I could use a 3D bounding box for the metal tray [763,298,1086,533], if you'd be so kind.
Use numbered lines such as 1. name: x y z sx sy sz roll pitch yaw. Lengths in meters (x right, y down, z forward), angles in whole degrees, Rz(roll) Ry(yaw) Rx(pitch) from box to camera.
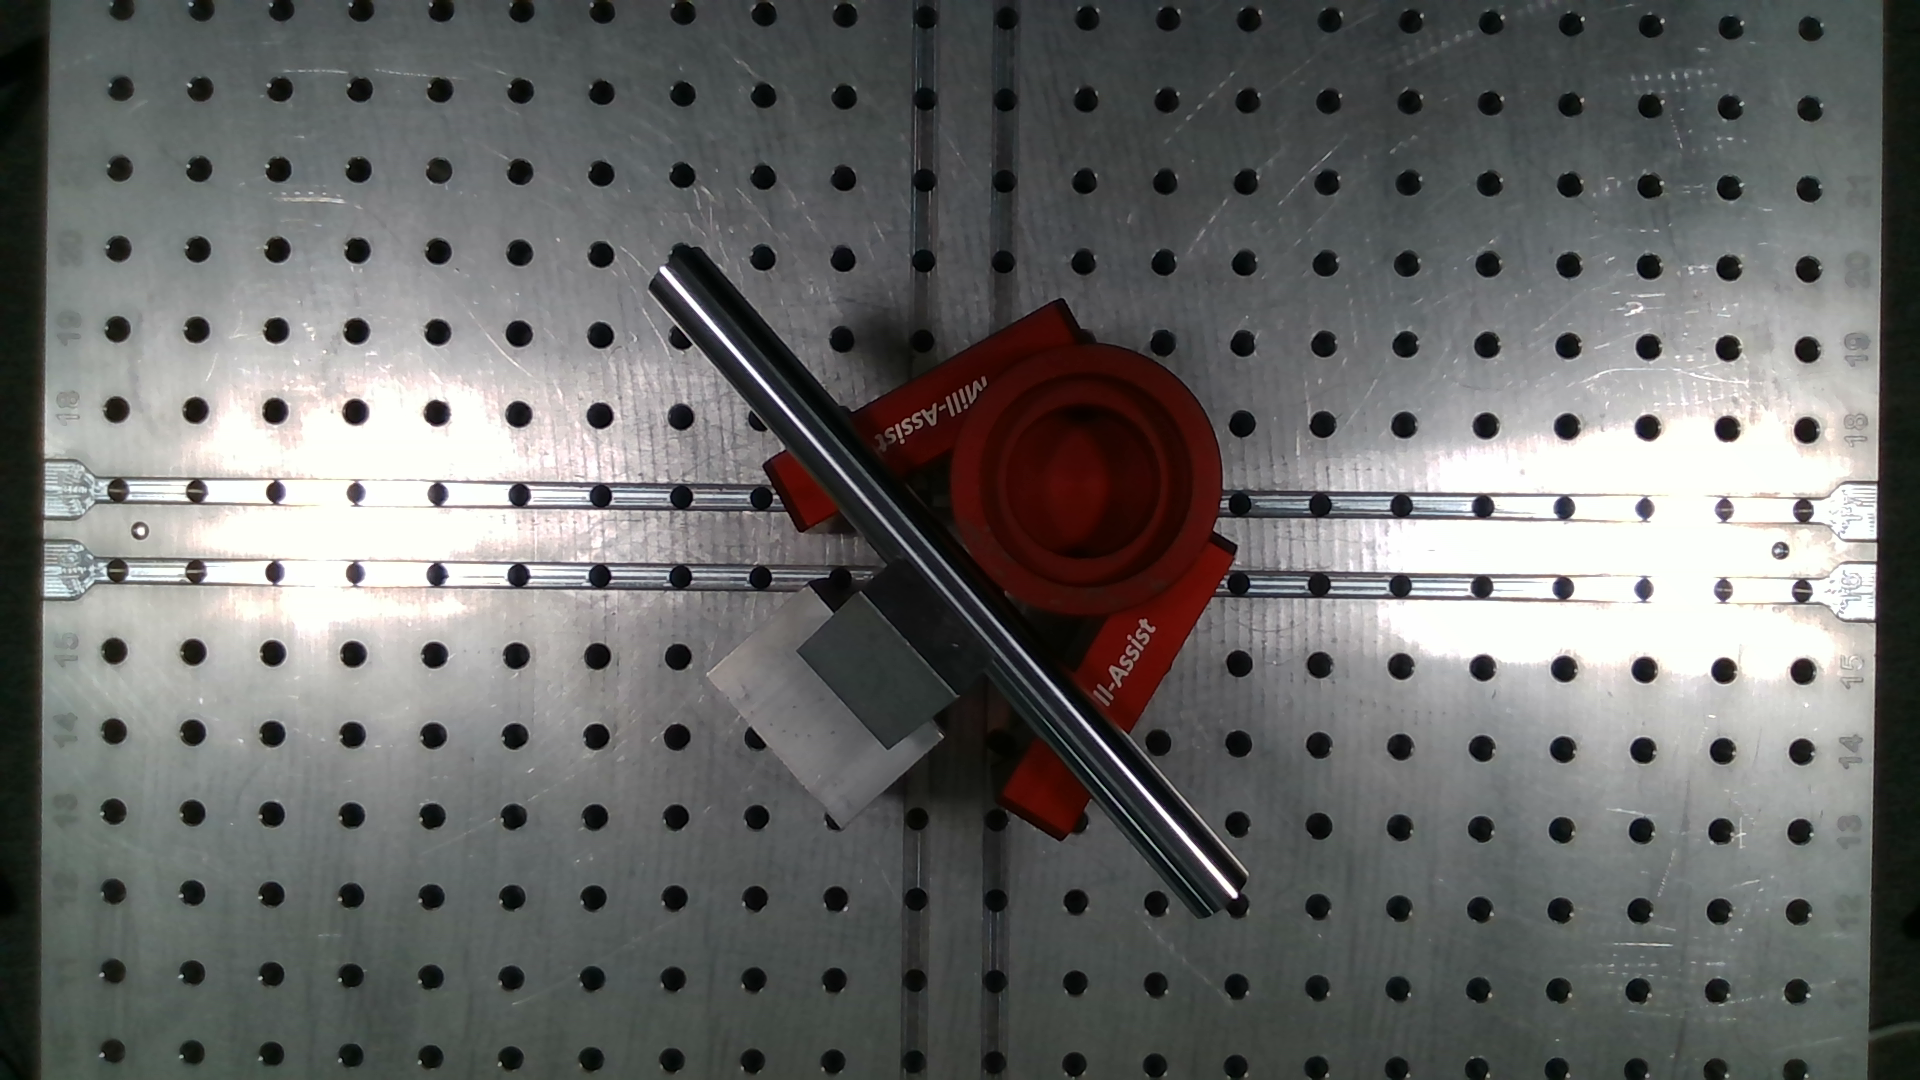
1. metal tray: -0.010 -0.047 0.556 0.130 0.090 0.030 -29 90 0

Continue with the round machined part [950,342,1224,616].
1. round machined part: 0.045 -0.022 0.512 0.098 0.042 0.098 0 90 0

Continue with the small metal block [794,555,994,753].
1. small metal block: -0.024 0.042 0.495 0.050 0.050 0.025 47 46 0

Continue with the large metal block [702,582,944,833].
1. large metal block: -0.052 0.064 0.559 0.050 0.080 0.080 -42 90 0

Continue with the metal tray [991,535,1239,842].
1. metal tray: 0.059 0.051 0.556 0.030 0.090 0.130 31 90 1

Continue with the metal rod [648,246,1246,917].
1. metal rod: -0.005 0.015 0.499 0.025 0.025 0.300 -41 90 0
